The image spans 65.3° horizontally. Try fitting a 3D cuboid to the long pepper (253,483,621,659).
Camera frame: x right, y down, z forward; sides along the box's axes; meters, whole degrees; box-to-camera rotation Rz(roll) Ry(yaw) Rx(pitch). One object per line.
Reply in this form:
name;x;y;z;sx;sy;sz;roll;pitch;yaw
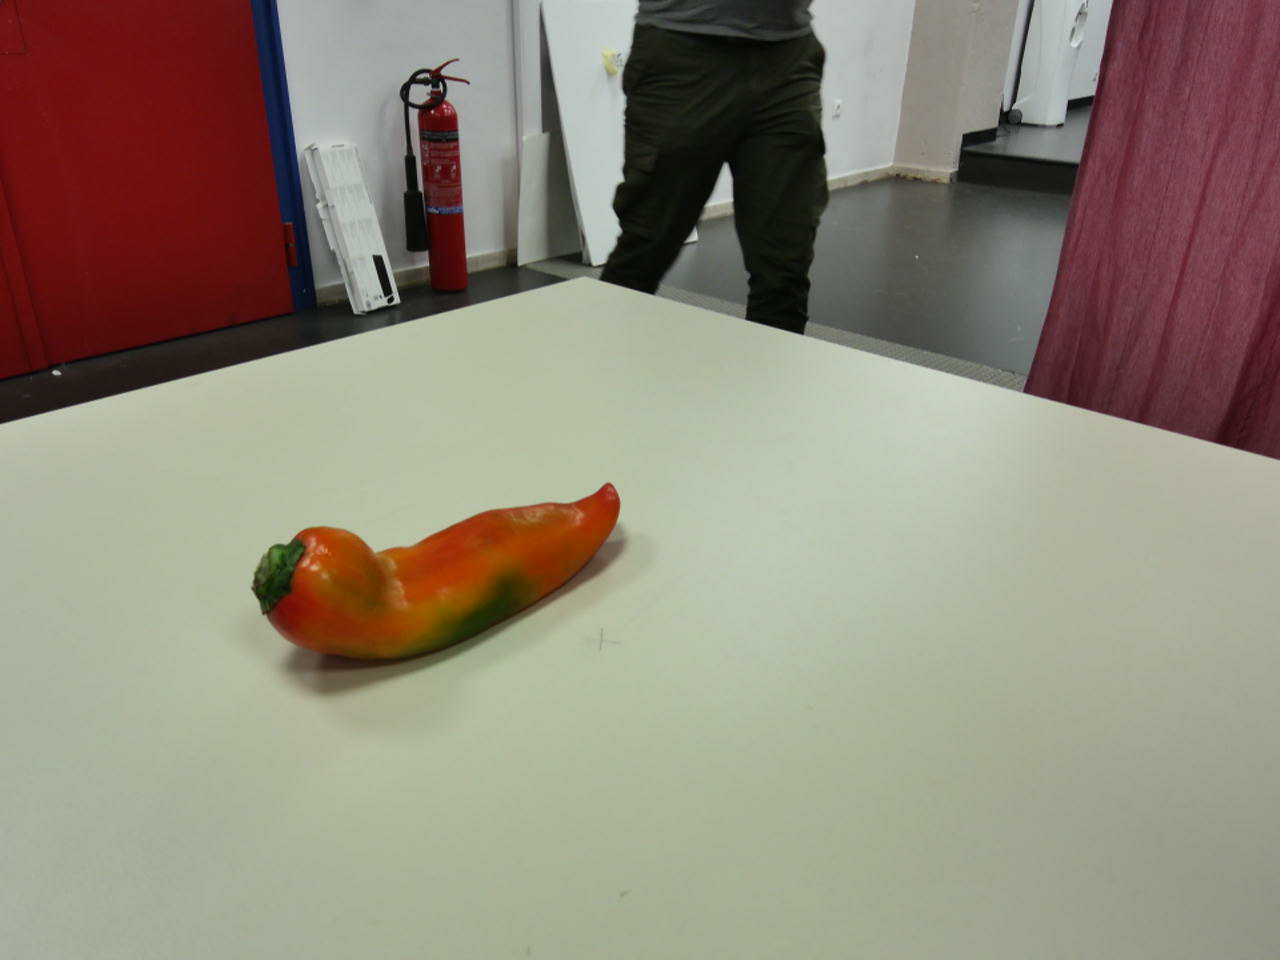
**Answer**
long pepper;-0.081;0.030;0.471;0.199;0.065;0.066;-21;32;-39
